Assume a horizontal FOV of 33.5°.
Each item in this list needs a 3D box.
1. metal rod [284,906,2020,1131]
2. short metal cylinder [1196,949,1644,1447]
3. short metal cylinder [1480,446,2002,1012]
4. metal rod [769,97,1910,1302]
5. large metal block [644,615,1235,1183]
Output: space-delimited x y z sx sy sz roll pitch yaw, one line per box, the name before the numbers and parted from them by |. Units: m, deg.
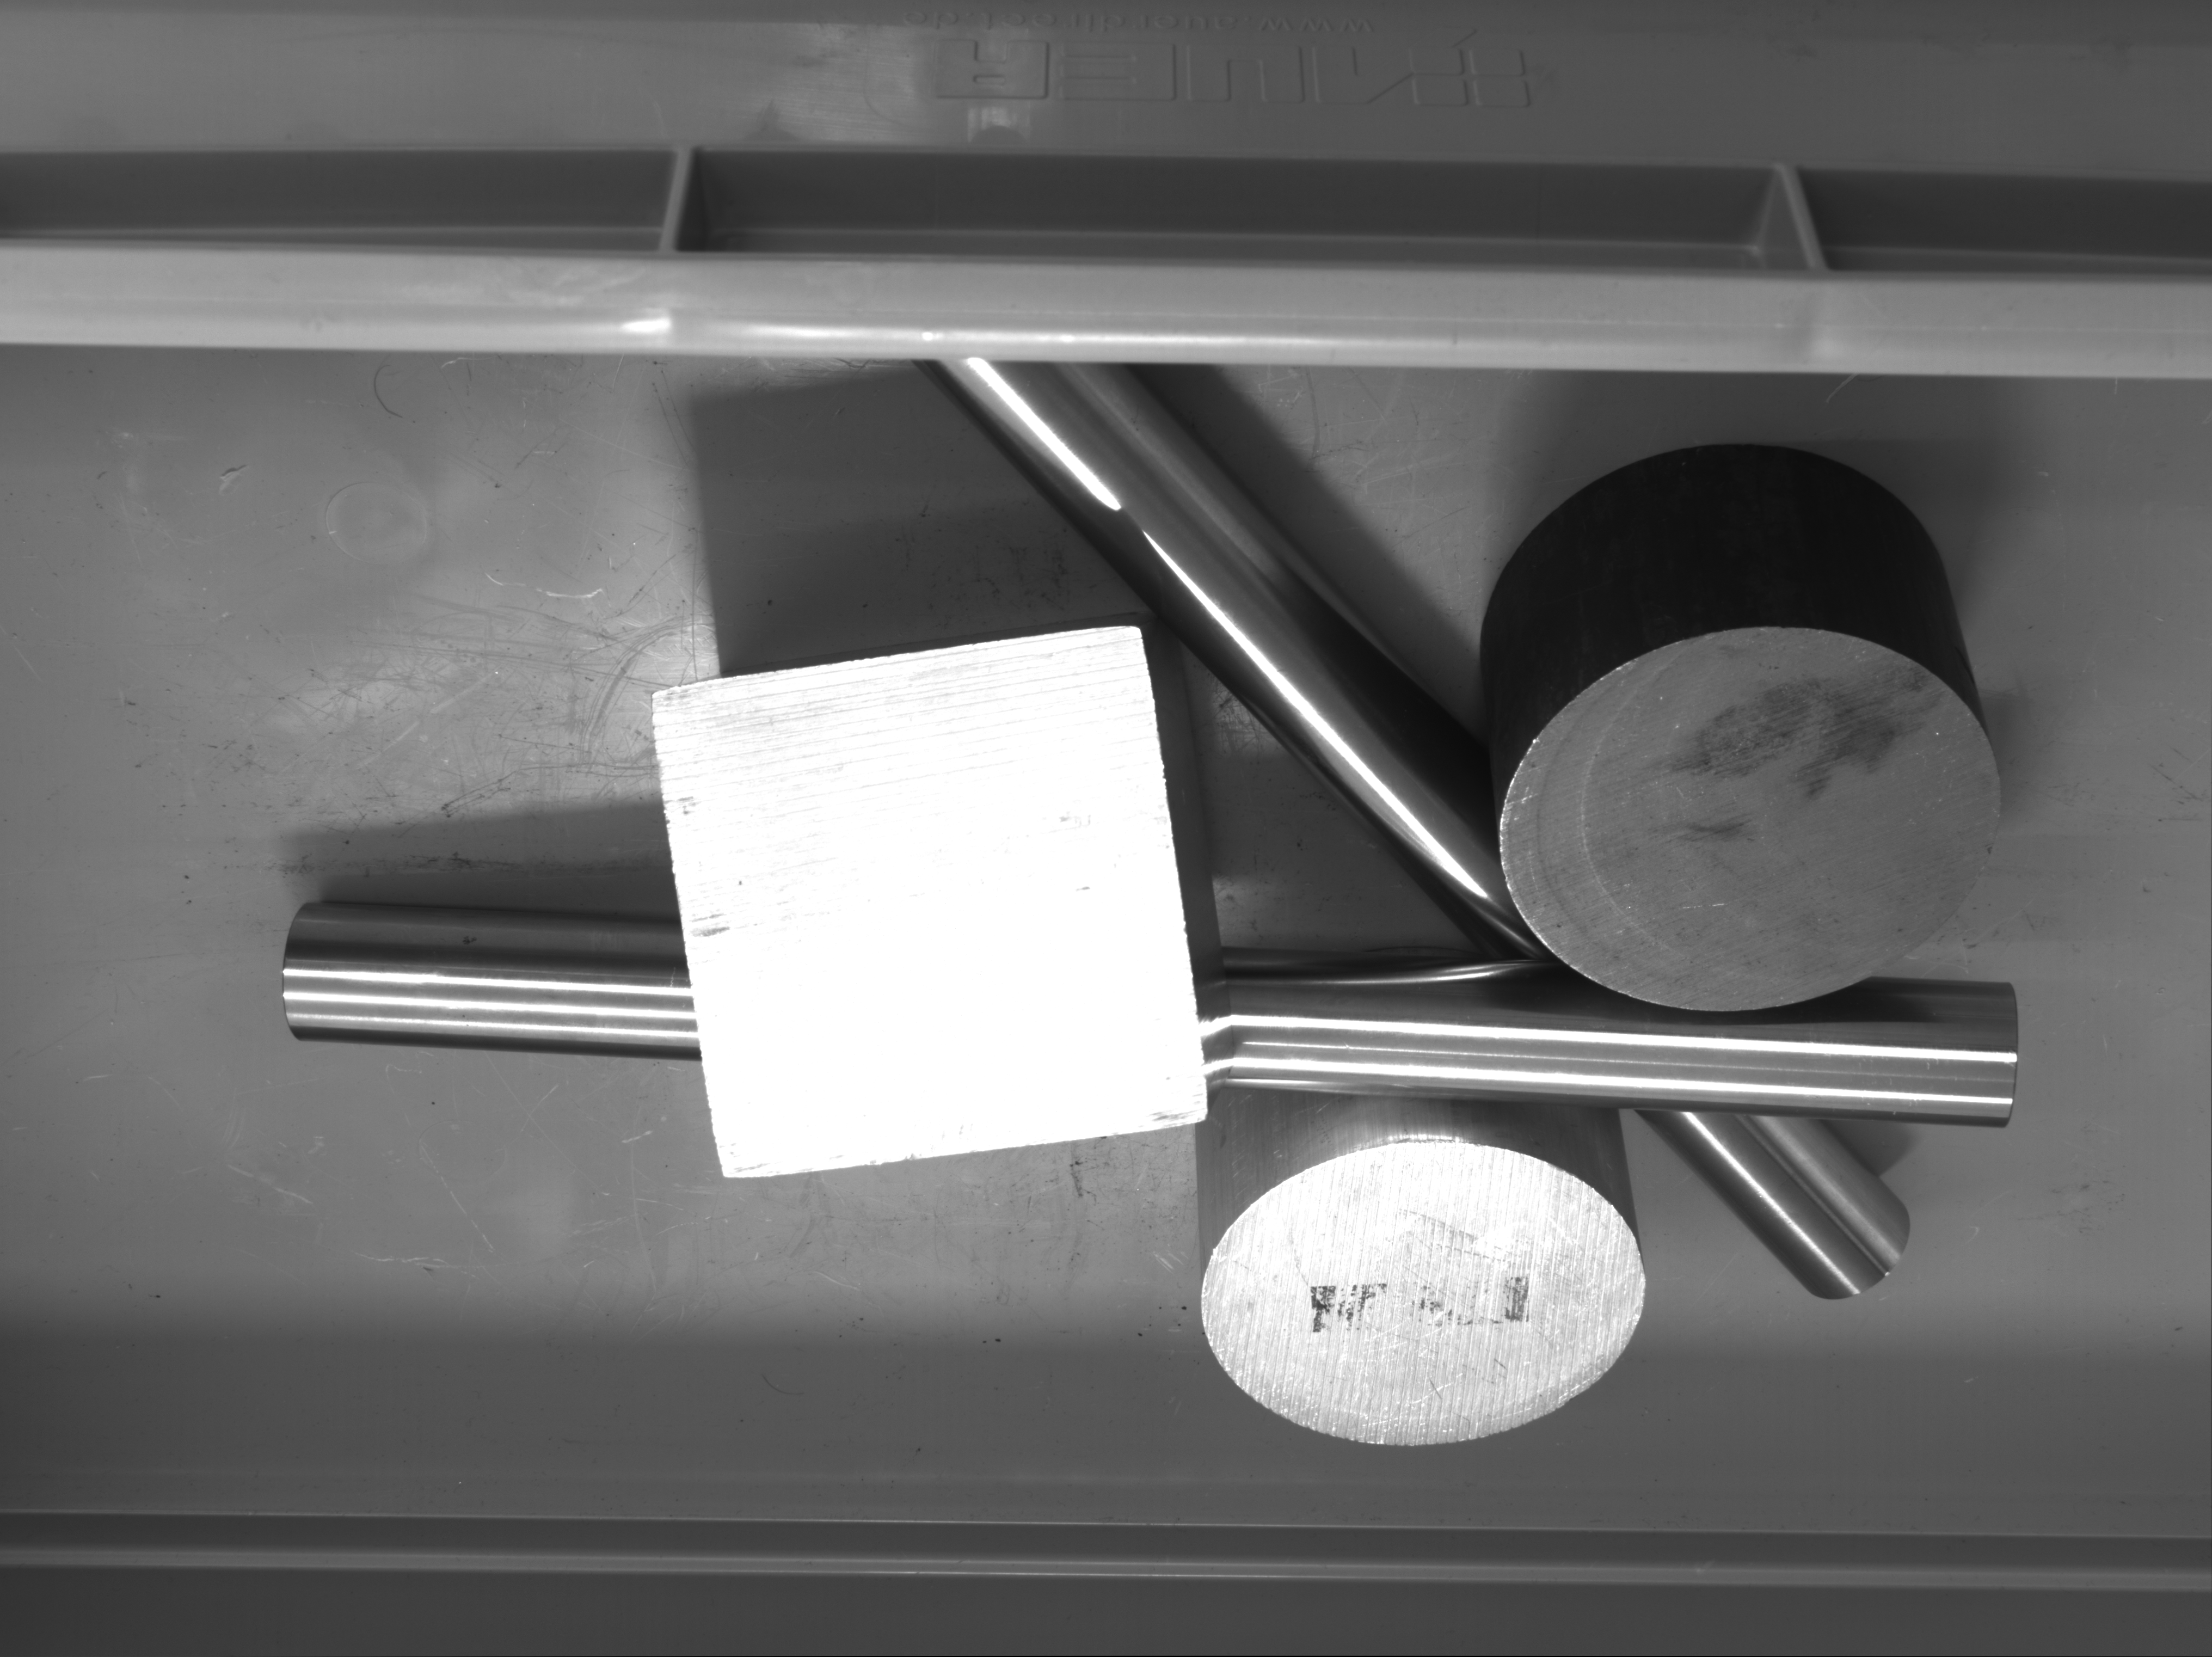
metal rod | 0.006 0.033 0.644 0.300 0.025 0.025 3 130 6
short metal cylinder | 0.057 0.069 0.679 0.080 0.050 0.080 0 130 0
short metal cylinder | 0.104 -0.016 0.609 0.080 0.050 0.080 0 130 0
metal rod | 0.051 -0.010 0.630 0.025 0.025 0.301 -31 124 23
large metal block | -0.026 0.010 0.606 0.080 0.050 0.080 -8 95 7
